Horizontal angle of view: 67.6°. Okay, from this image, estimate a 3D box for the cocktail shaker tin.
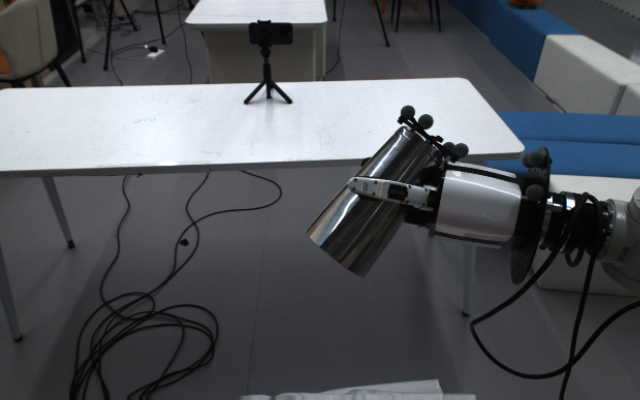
[{"bbox_3d":[0.072,-0.005,0.584,0.170,0.093,0.093,-50,46,3],"label":"cocktail shaker tin"}]
